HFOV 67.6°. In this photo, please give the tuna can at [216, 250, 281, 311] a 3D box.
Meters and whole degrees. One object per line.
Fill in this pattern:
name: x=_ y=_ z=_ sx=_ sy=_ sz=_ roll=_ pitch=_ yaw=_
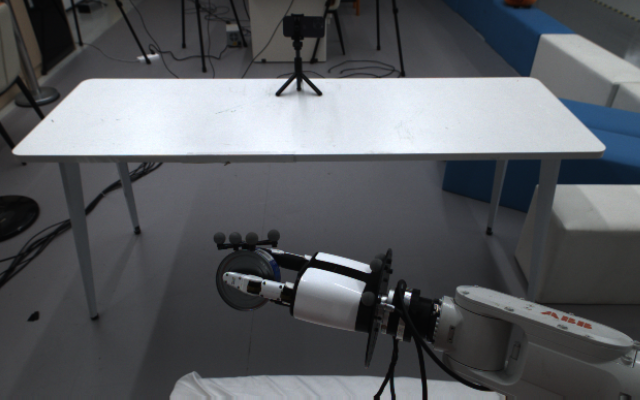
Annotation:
tuna can: x=-0.097 y=0.115 z=0.673 sx=0.085 sy=0.085 sz=0.034 roll=10 pitch=3 yaw=11
